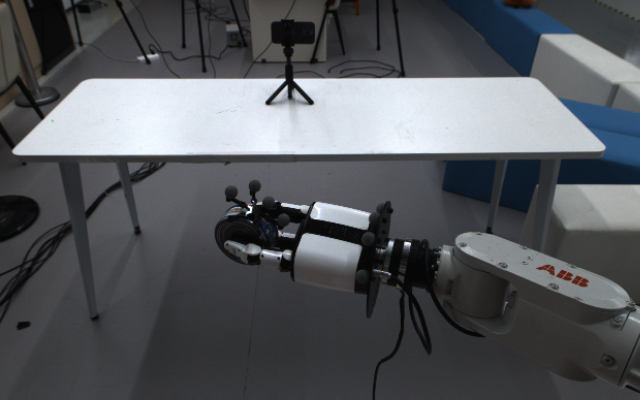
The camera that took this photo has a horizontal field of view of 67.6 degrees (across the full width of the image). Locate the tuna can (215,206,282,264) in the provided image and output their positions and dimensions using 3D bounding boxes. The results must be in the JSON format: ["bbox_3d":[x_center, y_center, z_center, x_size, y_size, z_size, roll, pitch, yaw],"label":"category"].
[{"bbox_3d":[-0.102,0.056,0.680,0.085,0.085,0.034,12,35,14],"label":"tuna can"}]
